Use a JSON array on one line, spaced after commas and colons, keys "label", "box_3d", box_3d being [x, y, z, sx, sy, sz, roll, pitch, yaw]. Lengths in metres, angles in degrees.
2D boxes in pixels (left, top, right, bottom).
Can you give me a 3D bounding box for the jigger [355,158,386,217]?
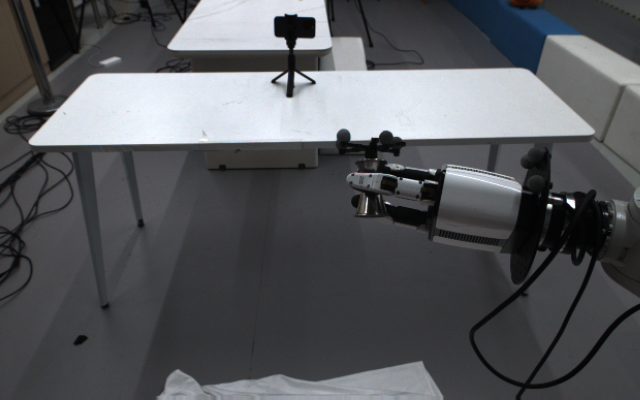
[{"label": "jigger", "box_3d": [0.062, -0.014, 0.592, 0.043, 0.071, 0.043, 1, -5, 0]}]
